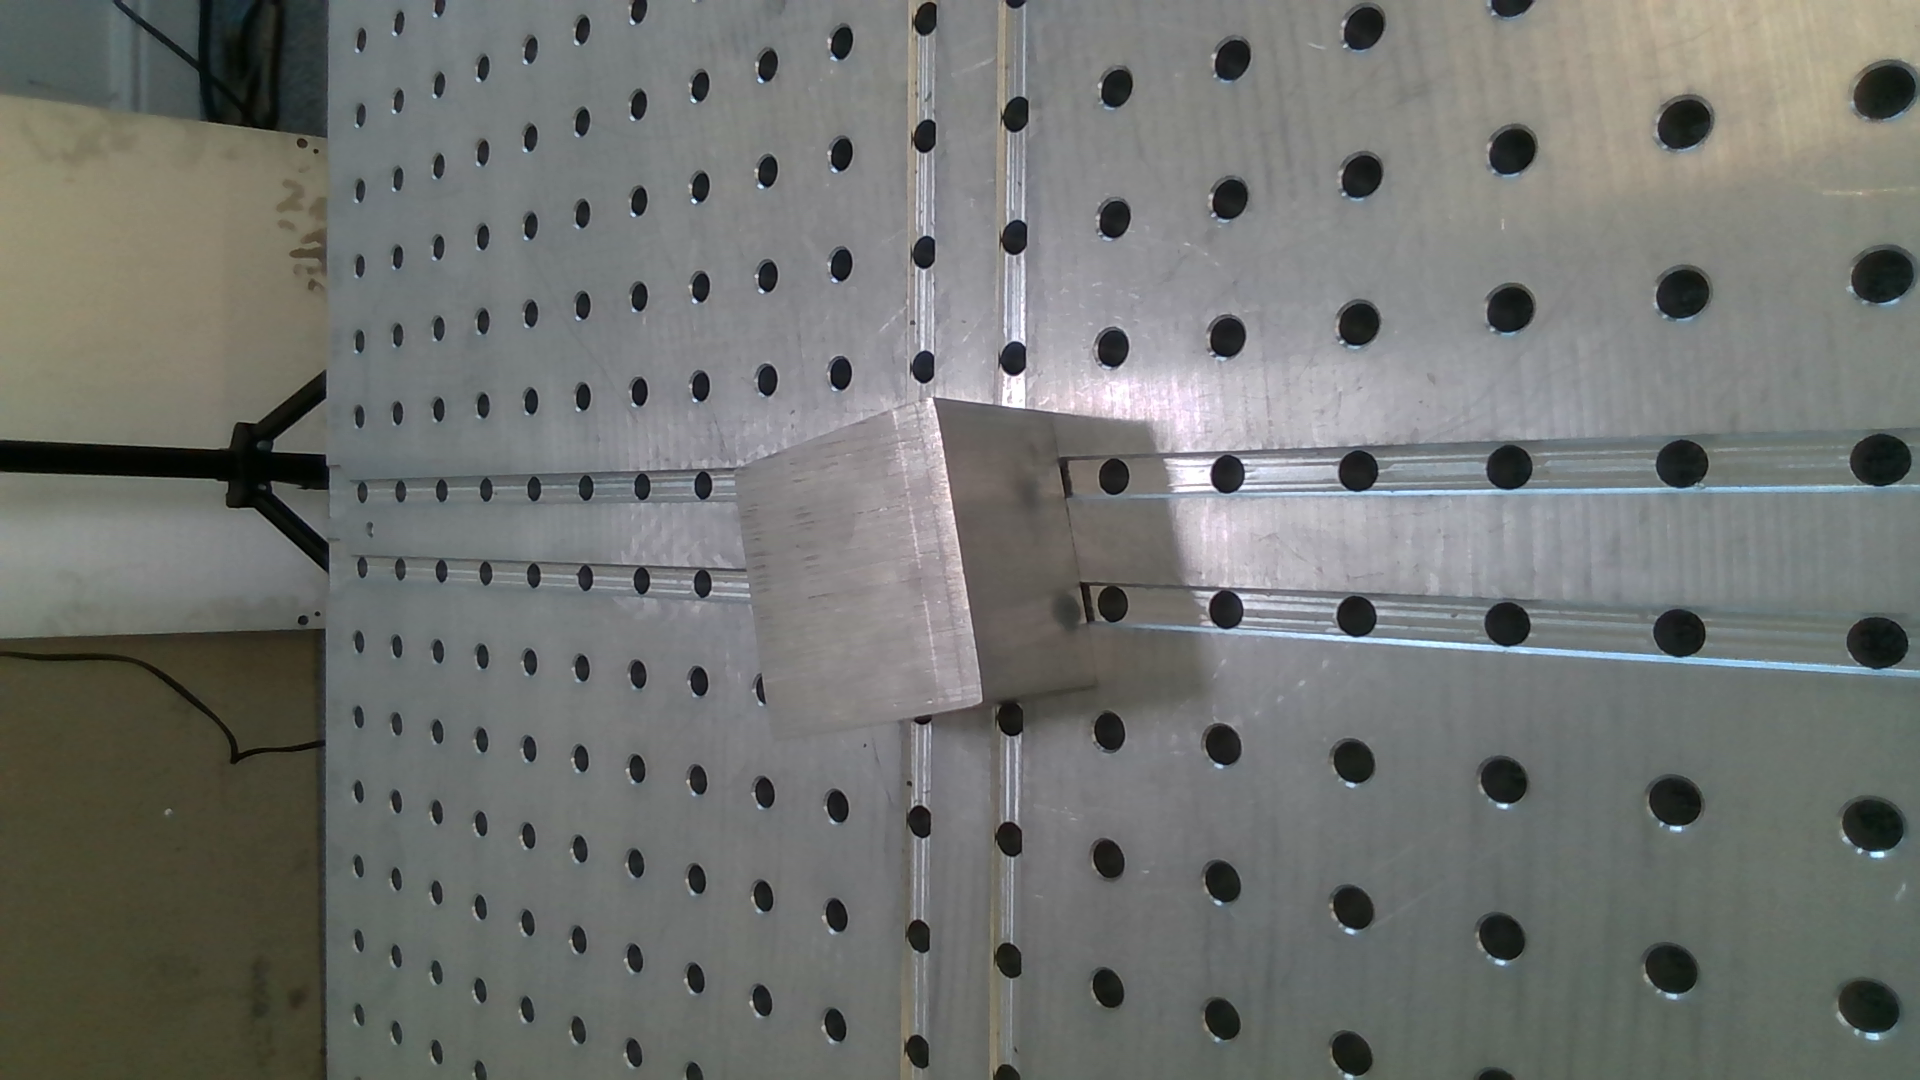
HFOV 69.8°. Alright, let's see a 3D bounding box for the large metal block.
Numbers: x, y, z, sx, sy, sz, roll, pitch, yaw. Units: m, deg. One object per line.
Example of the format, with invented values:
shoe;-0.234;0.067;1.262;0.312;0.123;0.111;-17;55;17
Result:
large metal block;-0.015;0.009;0.388;0.080;0.050;0.080;-16;80;39
